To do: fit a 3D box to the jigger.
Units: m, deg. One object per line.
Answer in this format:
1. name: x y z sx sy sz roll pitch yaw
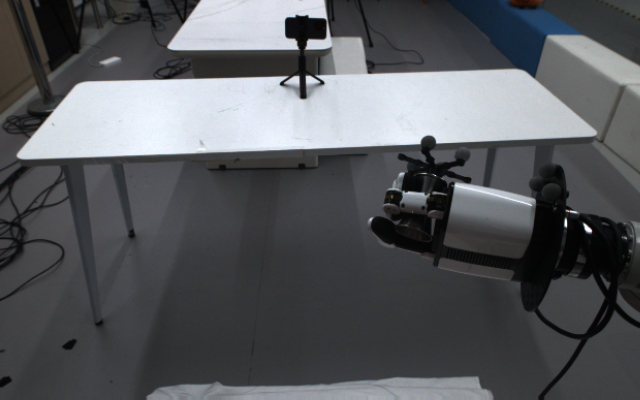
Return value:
1. jigger: 0.116 0.005 0.550 0.043 0.043 0.071 16 70 19
